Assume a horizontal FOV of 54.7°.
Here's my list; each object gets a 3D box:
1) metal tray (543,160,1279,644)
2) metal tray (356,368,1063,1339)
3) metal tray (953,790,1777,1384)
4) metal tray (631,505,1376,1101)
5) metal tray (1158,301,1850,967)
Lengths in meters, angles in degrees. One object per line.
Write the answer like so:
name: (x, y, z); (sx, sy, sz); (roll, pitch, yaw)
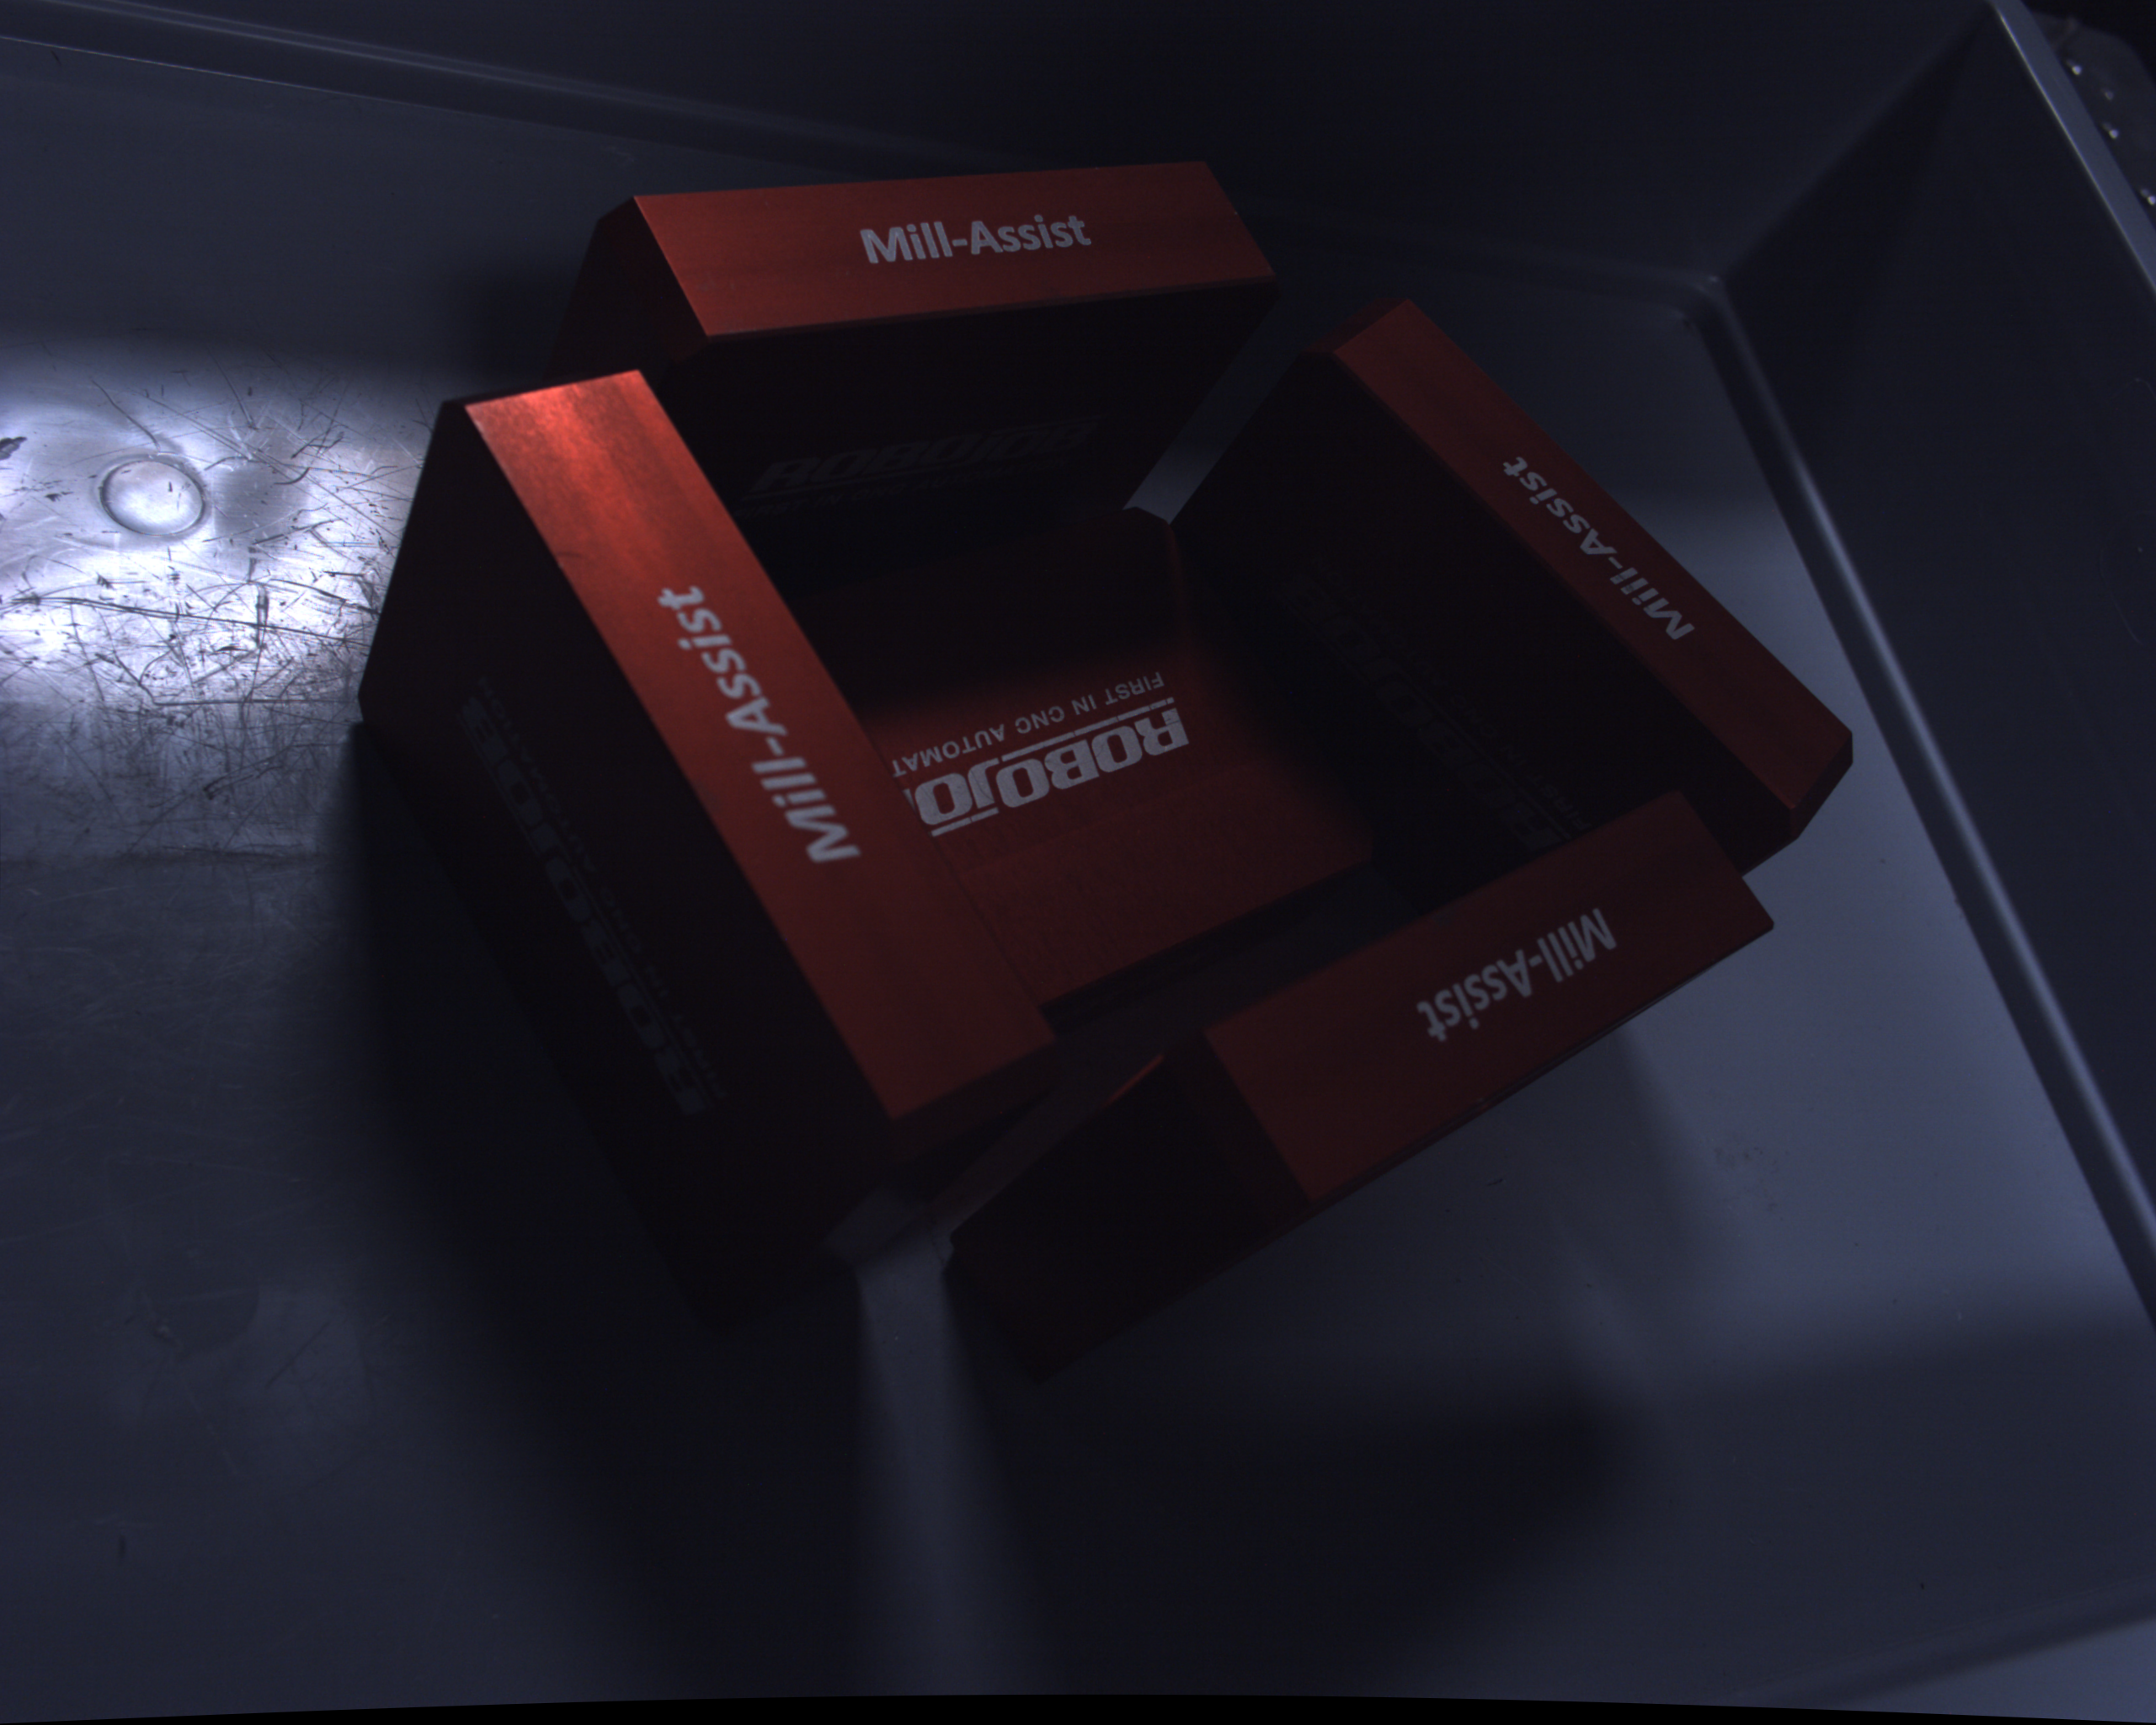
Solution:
metal tray: (-0.036, -0.087, 0.396); (0.131, 0.090, 0.030); (-17, 71, -35)
metal tray: (-0.064, 0.001, 0.327); (0.030, 0.090, 0.130); (-23, 75, -37)
metal tray: (0.051, 0.038, 0.367); (0.131, 0.090, 0.030); (-23, 74, -36)
metal tray: (-0.016, -0.013, 0.400); (0.131, 0.030, 0.090); (-22, 74, -36)
metal tray: (0.080, -0.039, 0.431); (0.130, 0.090, 0.030); (45, 52, 3)
